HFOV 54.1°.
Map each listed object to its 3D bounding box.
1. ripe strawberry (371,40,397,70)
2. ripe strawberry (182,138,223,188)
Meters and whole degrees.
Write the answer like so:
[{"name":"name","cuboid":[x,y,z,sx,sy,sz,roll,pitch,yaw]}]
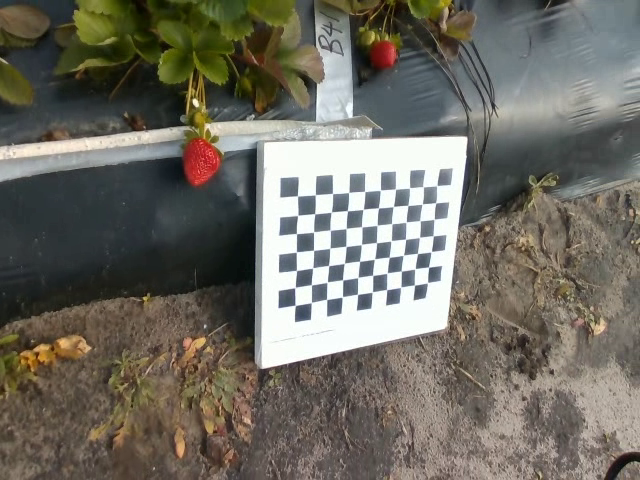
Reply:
[{"name":"ripe strawberry","cuboid":[0.076,-0.214,0.705,0.038,0.048,0.030,9,-43,-31]},{"name":"ripe strawberry","cuboid":[-0.115,-0.072,0.585,0.030,0.053,0.048,-8,-37,46]}]
